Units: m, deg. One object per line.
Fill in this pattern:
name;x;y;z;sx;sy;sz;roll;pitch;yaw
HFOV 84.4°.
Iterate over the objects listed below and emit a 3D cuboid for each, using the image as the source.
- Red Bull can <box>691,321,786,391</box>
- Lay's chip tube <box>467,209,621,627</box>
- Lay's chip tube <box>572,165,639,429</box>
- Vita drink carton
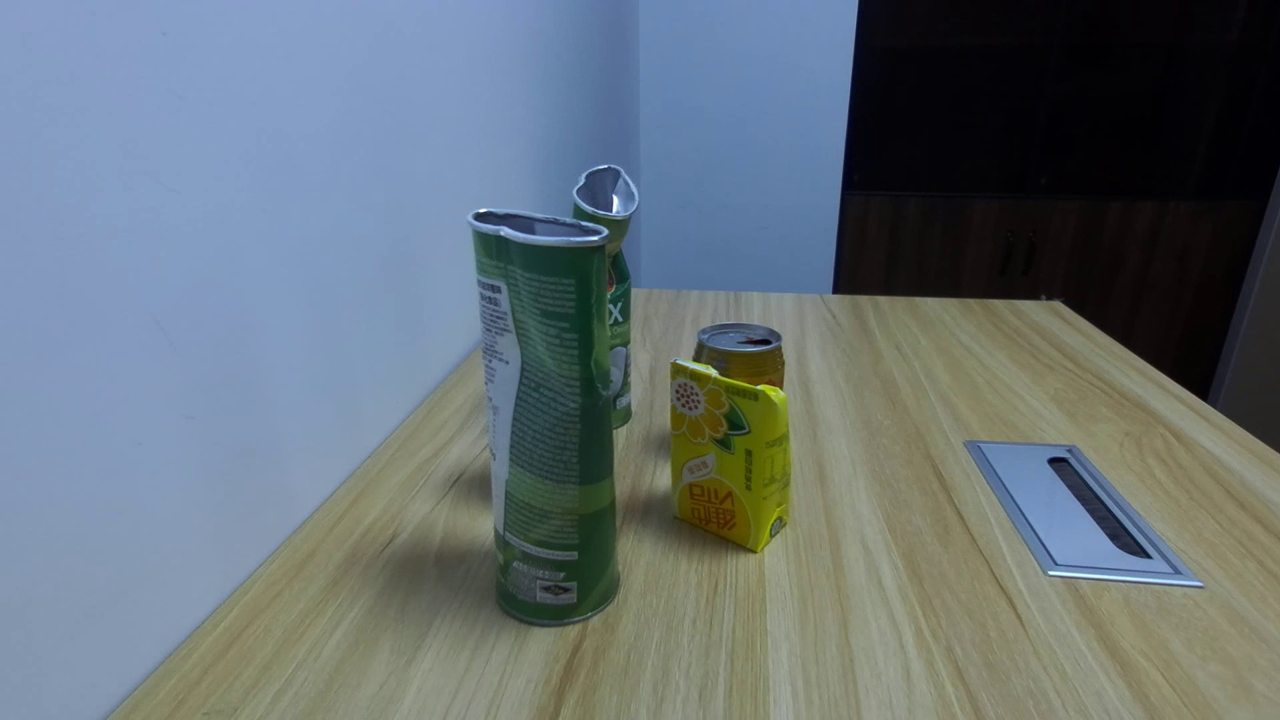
Red Bull can;0.071;0.026;0.522;0.067;0.093;0.067;0;21;0
Lay's chip tube;-0.047;0.032;0.356;0.075;0.199;0.069;2;21;7
Lay's chip tube;-0.033;-0.041;0.547;0.070;0.199;0.079;26;34;36
Vita drink carton;0.056;0.051;0.424;0.071;0.110;0.046;17;30;35
